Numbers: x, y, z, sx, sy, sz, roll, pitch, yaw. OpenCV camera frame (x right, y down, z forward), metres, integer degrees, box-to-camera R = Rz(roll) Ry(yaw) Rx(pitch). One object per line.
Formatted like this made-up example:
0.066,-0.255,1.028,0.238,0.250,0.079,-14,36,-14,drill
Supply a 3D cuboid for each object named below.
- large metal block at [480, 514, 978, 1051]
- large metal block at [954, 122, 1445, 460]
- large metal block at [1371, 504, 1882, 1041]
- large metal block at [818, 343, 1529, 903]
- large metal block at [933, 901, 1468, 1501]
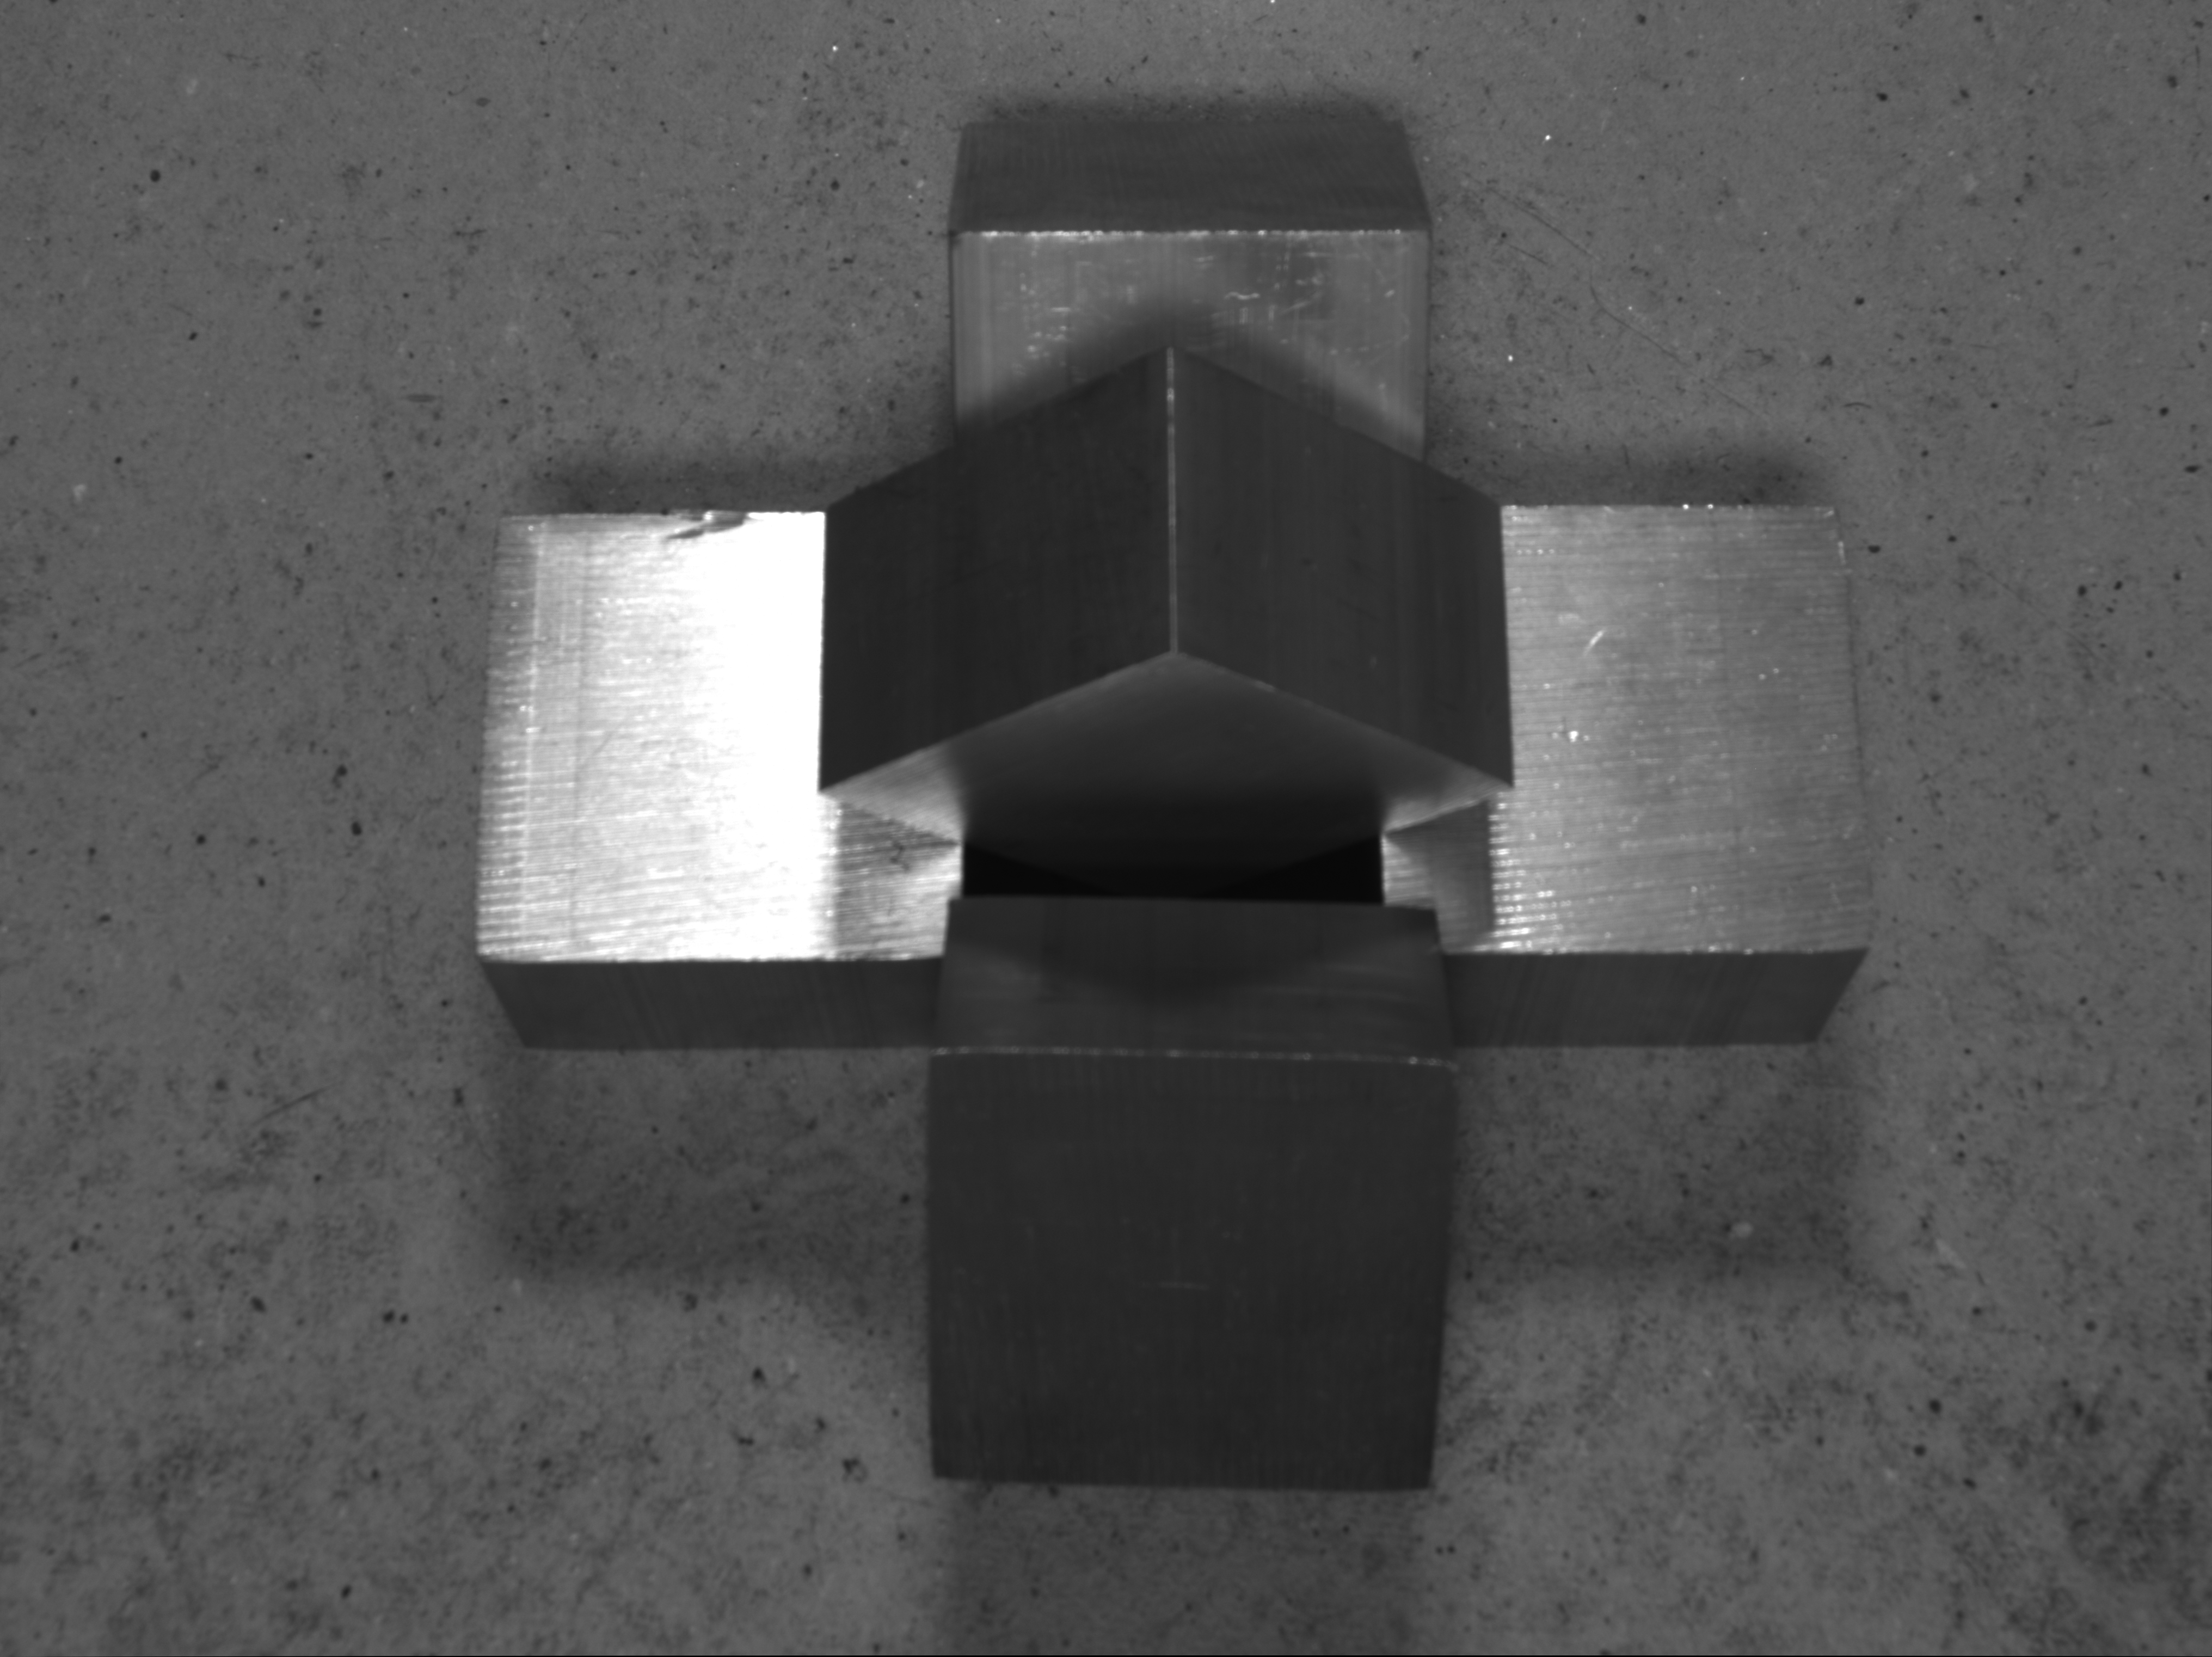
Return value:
-0.062,-0.007,0.634,0.080,0.050,0.080,0,70,0,large metal block
0.016,-0.090,0.643,0.080,0.080,0.050,0,113,0,large metal block
0.086,-0.009,0.632,0.080,0.050,0.080,0,70,0,large metal block
0.011,-0.029,0.591,0.080,0.080,0.050,-19,63,41,large metal block
0.015,0.059,0.587,0.080,0.080,0.050,1,27,1,large metal block
